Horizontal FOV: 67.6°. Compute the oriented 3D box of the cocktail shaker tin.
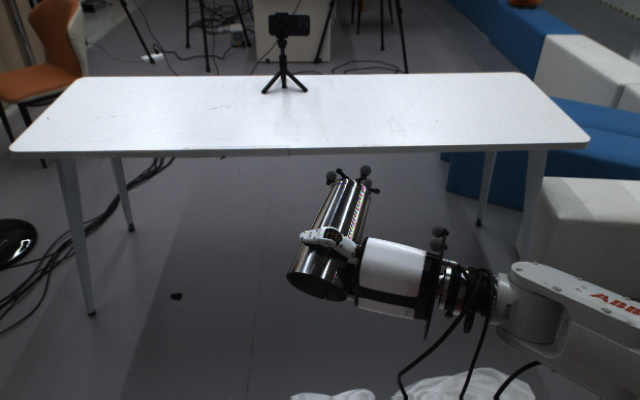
[{"bbox_3d":[0.020,0.054,0.723,0.093,0.093,0.170,14,60,16],"label":"cocktail shaker tin"}]
